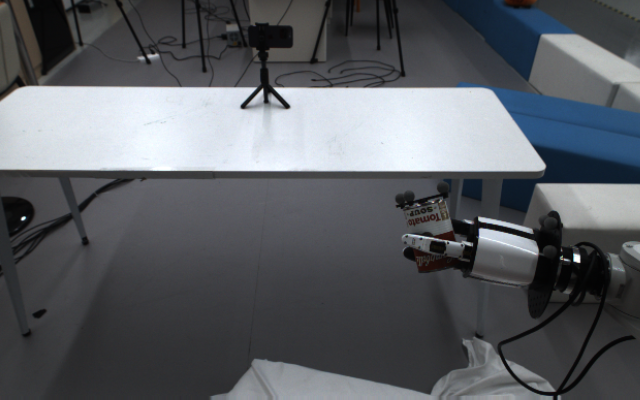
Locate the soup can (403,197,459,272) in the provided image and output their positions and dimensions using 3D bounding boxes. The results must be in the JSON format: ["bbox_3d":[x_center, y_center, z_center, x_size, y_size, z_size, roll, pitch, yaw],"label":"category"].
[{"bbox_3d":[0.171,0.053,0.738,0.067,0.101,0.067,-14,-2,-1],"label":"soup can"}]
